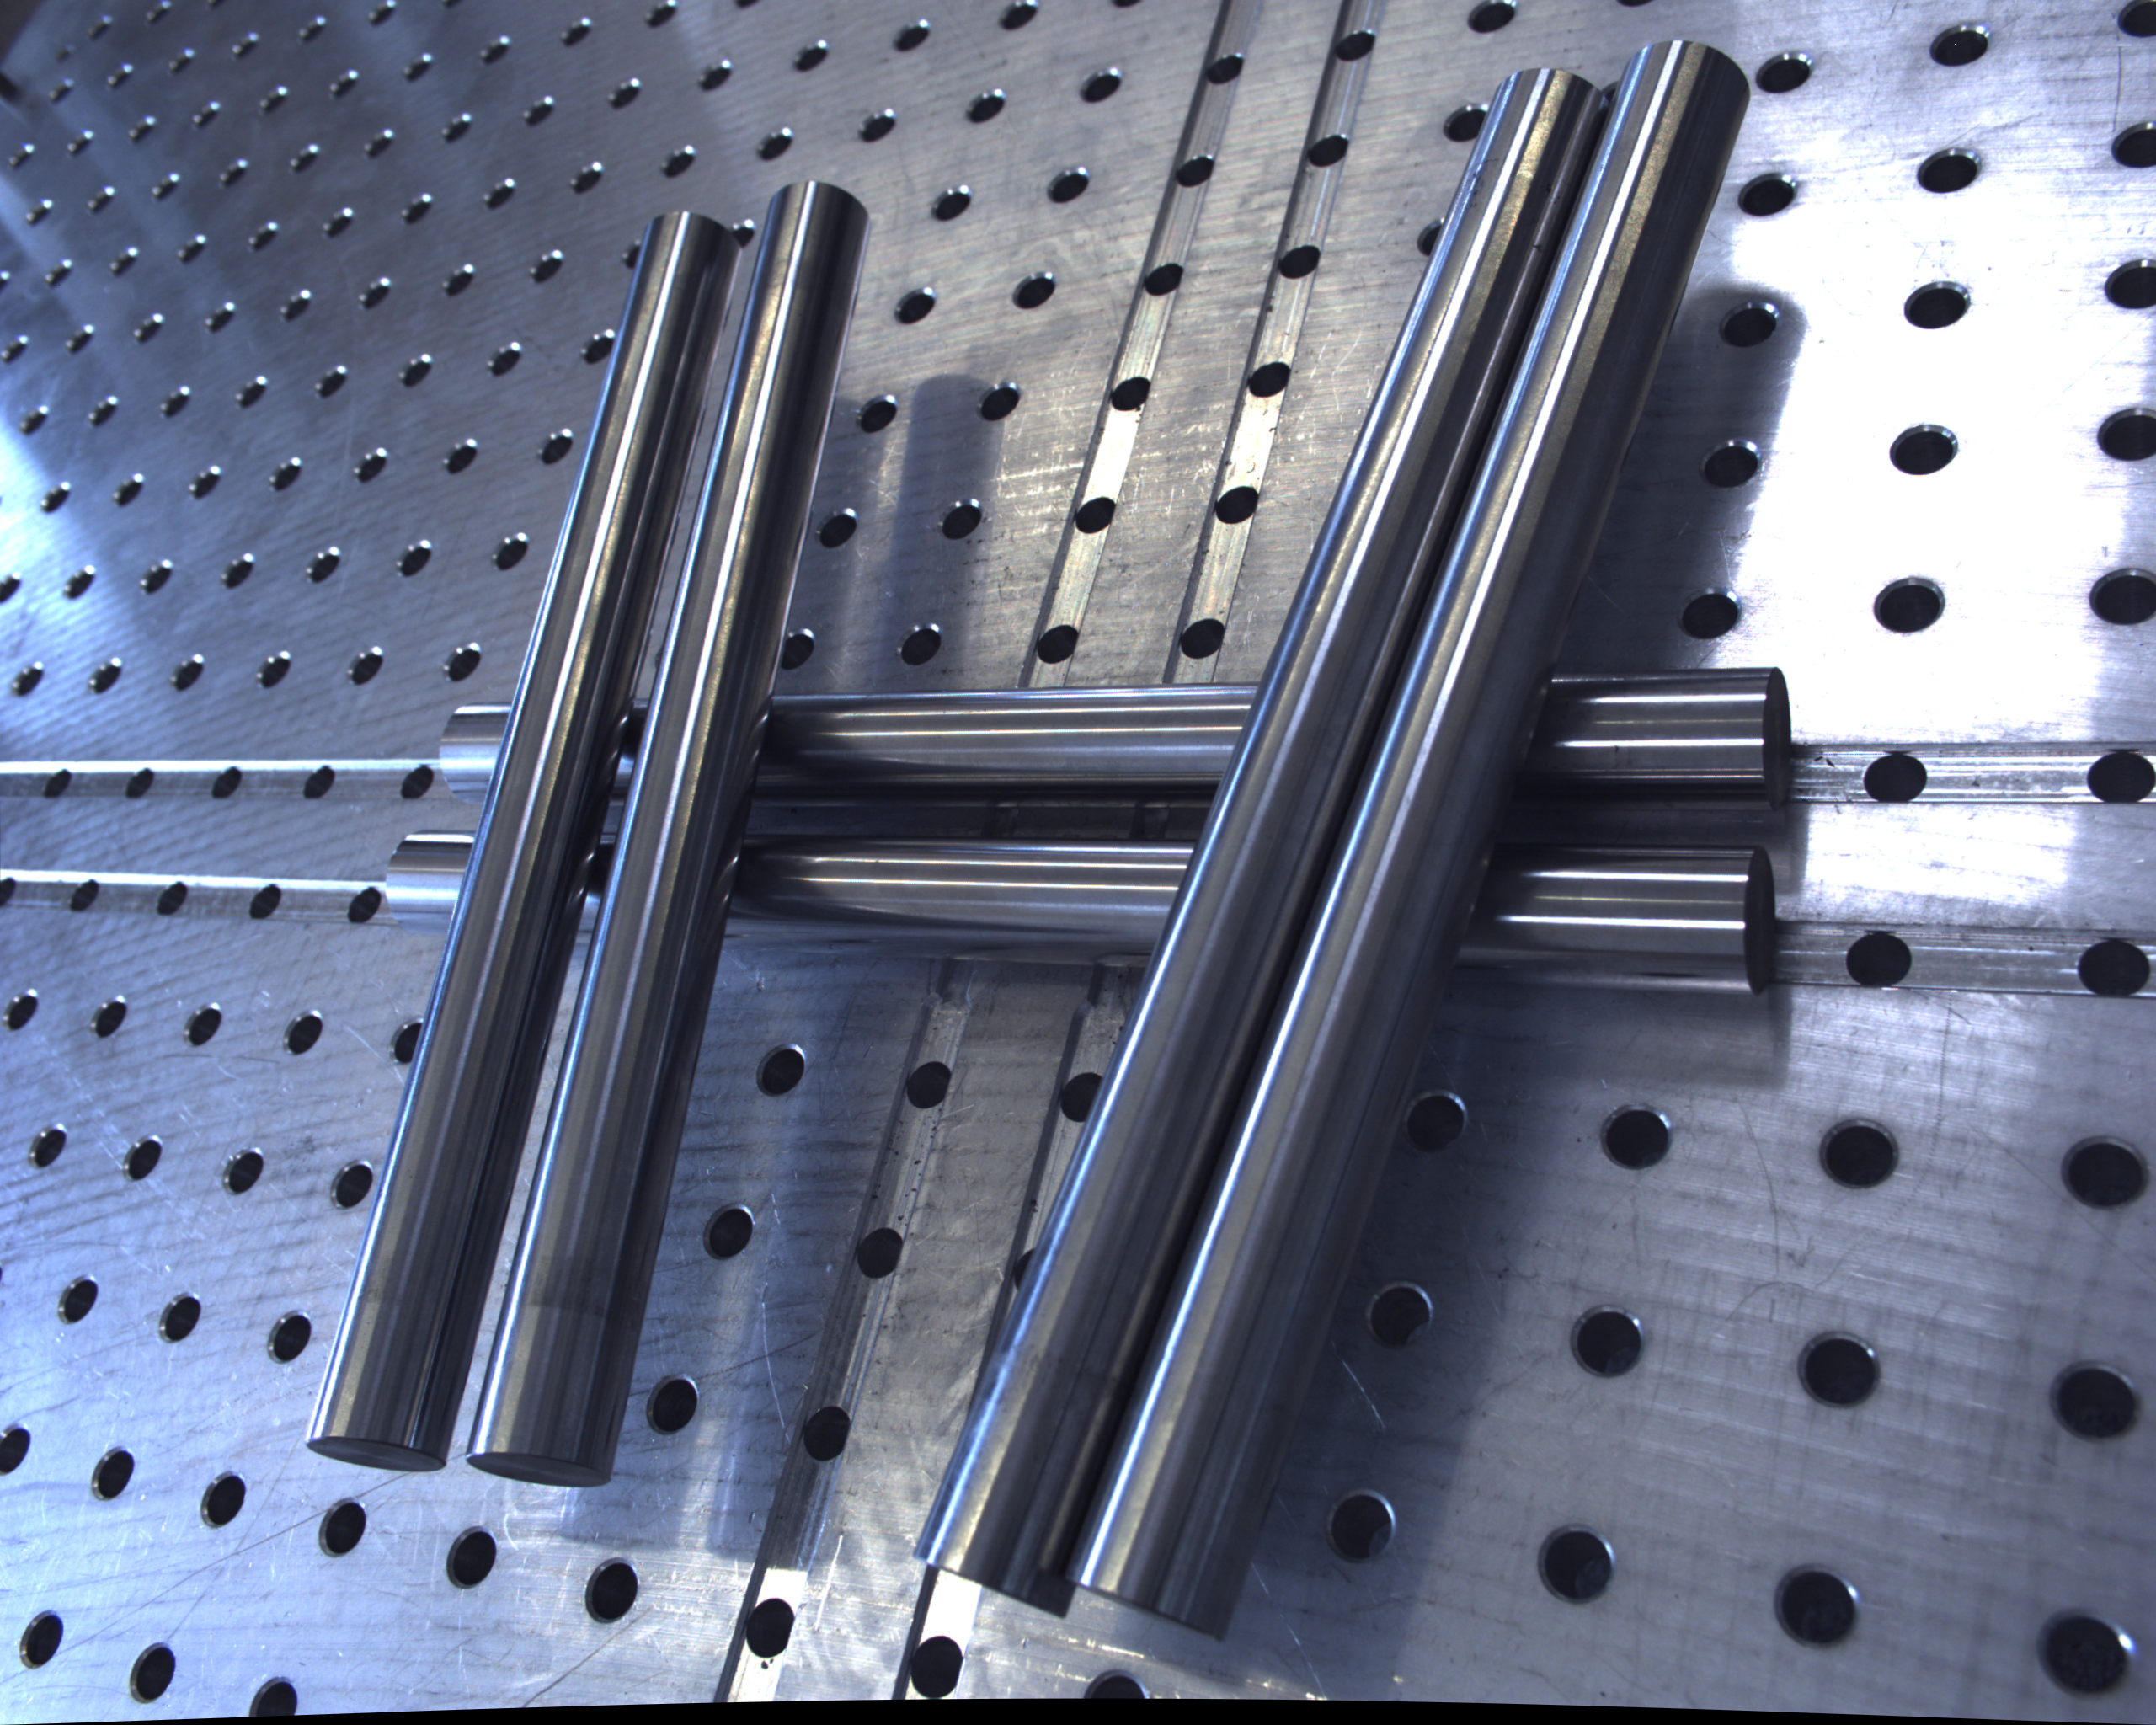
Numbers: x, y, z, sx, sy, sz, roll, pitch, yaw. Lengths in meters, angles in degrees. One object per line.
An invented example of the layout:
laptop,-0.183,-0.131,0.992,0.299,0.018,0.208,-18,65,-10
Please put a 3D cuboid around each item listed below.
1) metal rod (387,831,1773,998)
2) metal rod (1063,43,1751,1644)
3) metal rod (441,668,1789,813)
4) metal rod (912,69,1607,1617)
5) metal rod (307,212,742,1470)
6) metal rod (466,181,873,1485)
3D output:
metal rod,-0.020,0.007,0.416,0.300,0.025,0.025,1,62,28
metal rod,0.064,-0.020,0.357,0.025,0.025,0.300,10,66,32
metal rod,-0.012,-0.024,0.431,0.300,0.025,0.025,1,62,28
metal rod,0.041,-0.020,0.369,0.025,0.025,0.300,10,66,32
metal rod,-0.112,-0.023,0.451,0.025,0.025,0.300,-8,58,24
metal rod,-0.078,-0.025,0.435,0.025,0.025,0.300,-7,58,24
